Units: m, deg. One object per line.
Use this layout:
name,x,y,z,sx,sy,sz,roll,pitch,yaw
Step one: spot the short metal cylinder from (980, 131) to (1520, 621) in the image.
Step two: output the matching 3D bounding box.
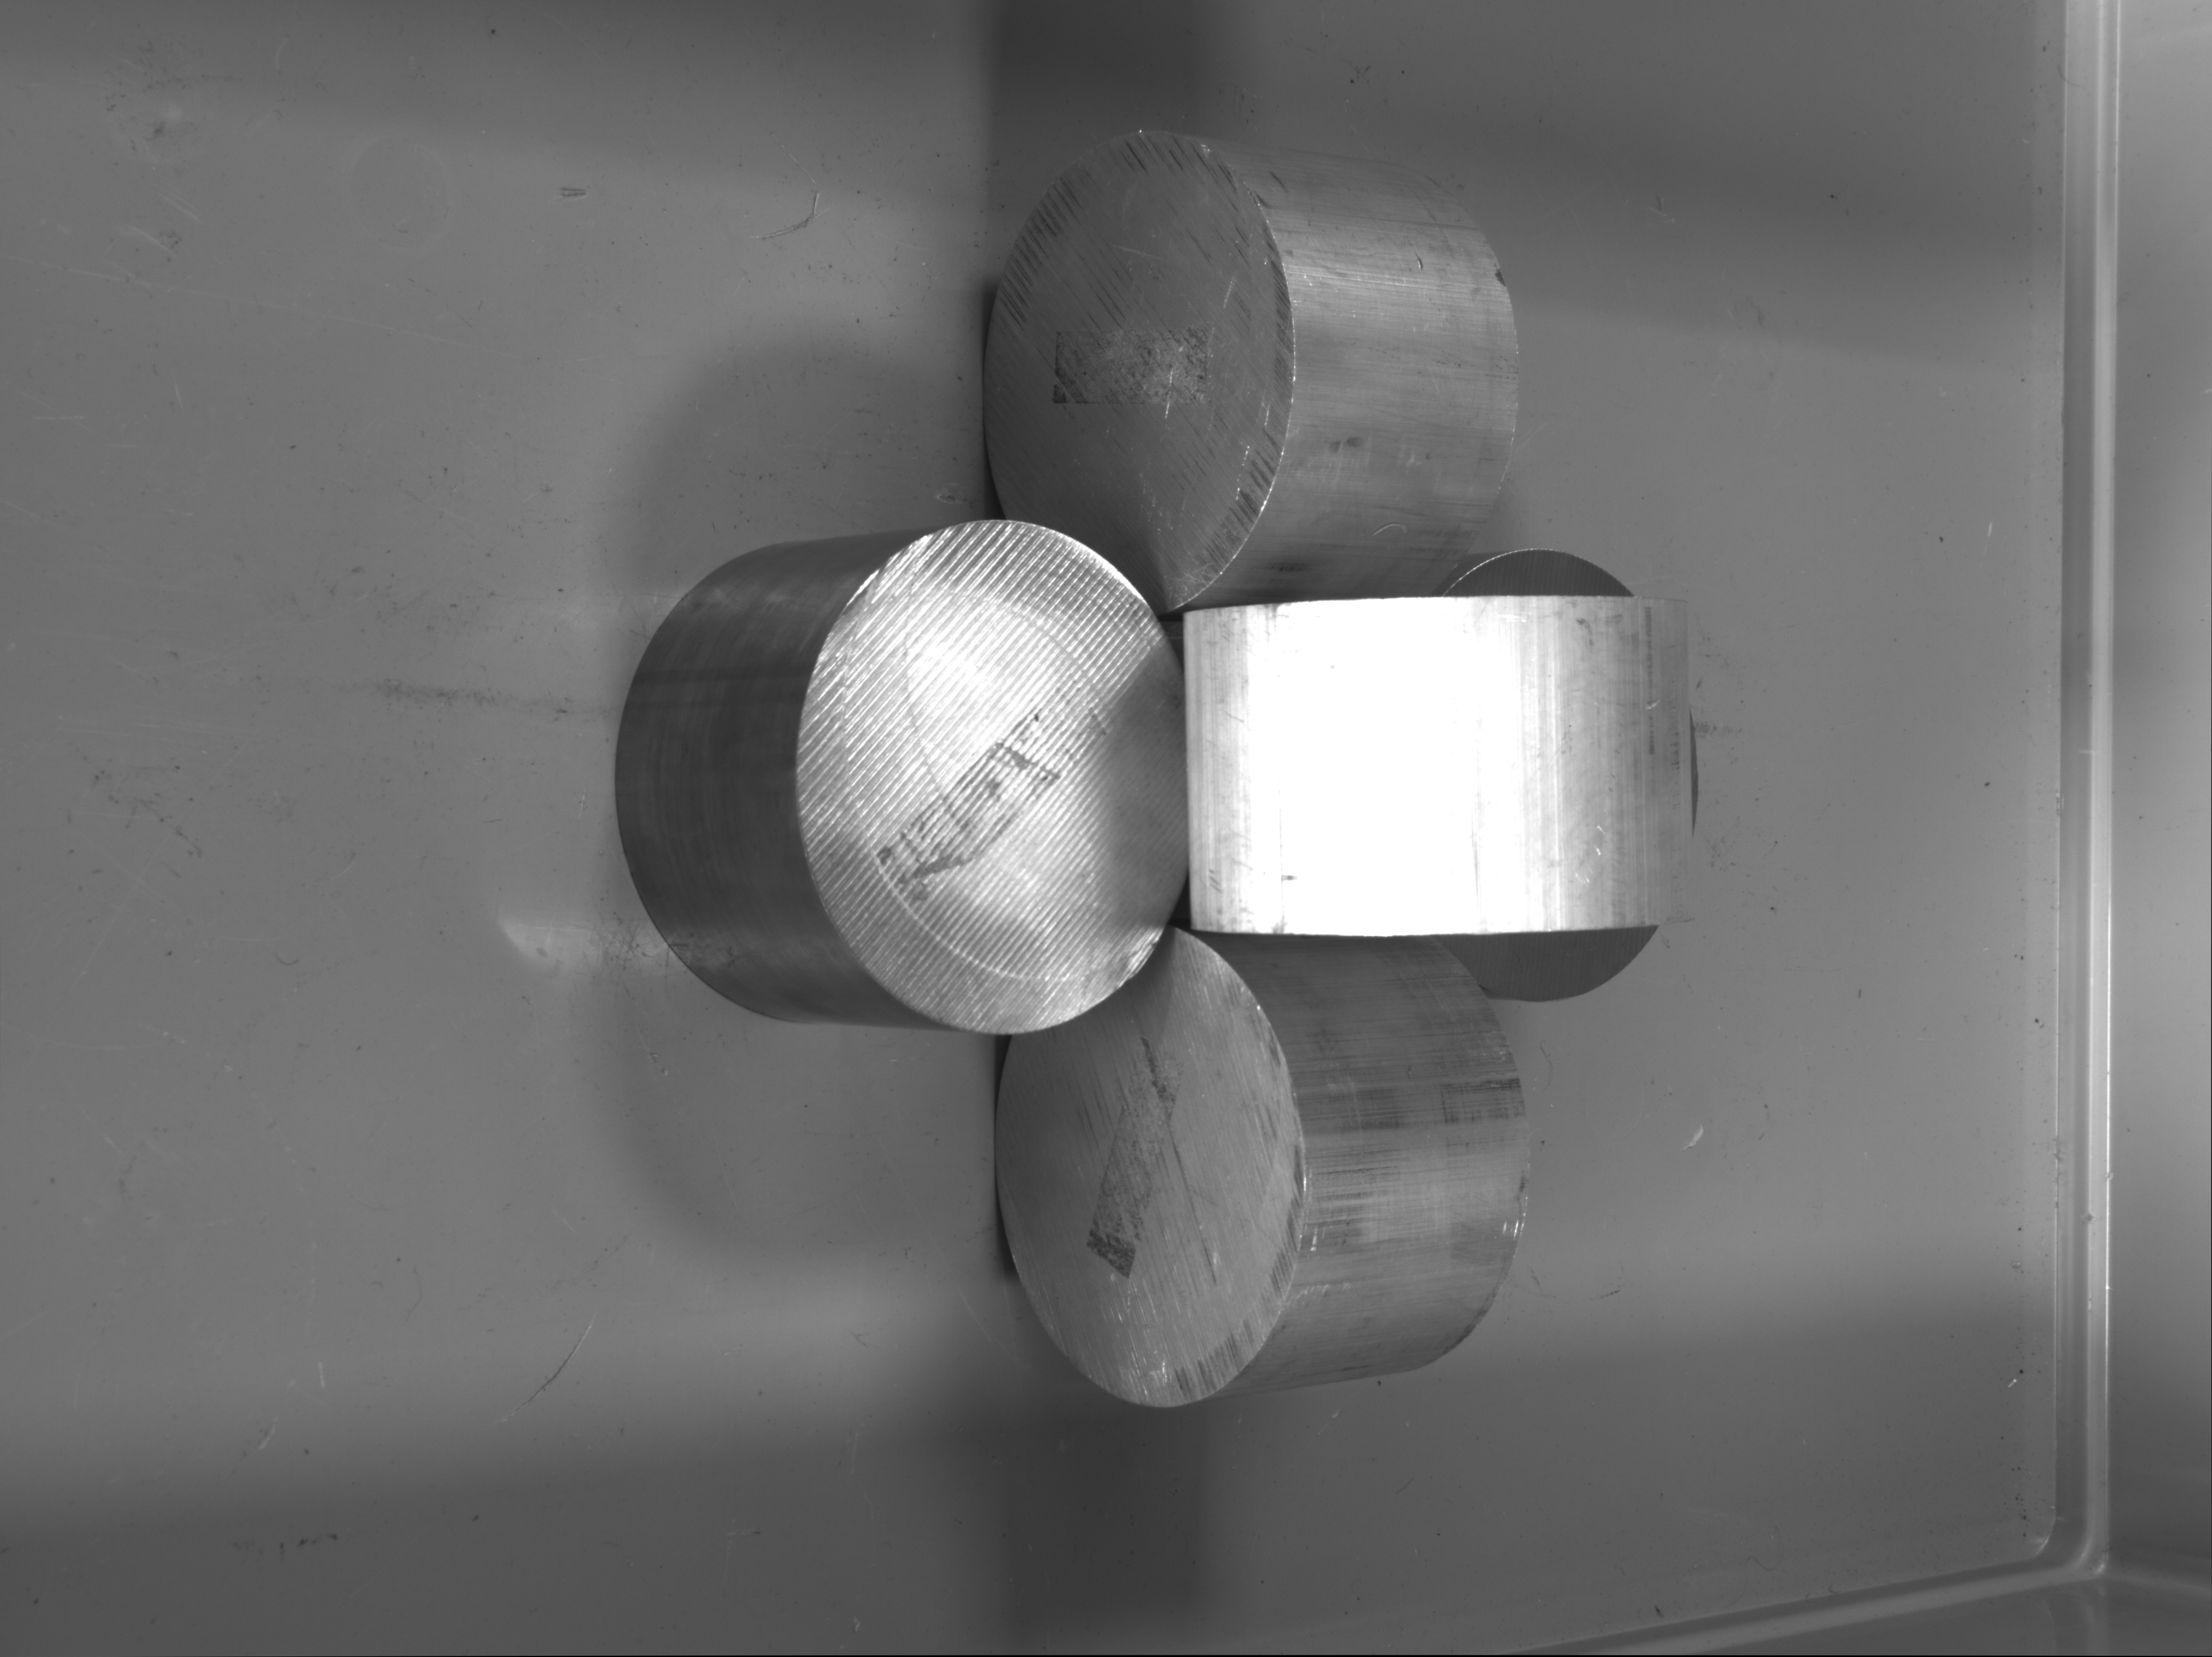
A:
short metal cylinder,0.023,-0.075,0.617,0.050,0.080,0.080,-2,91,-40

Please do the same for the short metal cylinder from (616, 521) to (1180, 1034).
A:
short metal cylinder,-0.031,-0.008,0.592,0.080,0.050,0.080,0,90,-40

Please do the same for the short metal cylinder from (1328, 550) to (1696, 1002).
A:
short metal cylinder,0.062,-0.009,0.668,0.080,0.050,0.080,0,90,-40

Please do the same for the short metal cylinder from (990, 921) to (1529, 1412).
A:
short metal cylinder,0.025,0.055,0.619,0.050,0.080,0.080,-2,91,-40

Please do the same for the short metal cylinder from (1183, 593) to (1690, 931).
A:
short metal cylinder,0.052,-0.010,0.585,0.080,0.080,0.050,-1,90,-40
